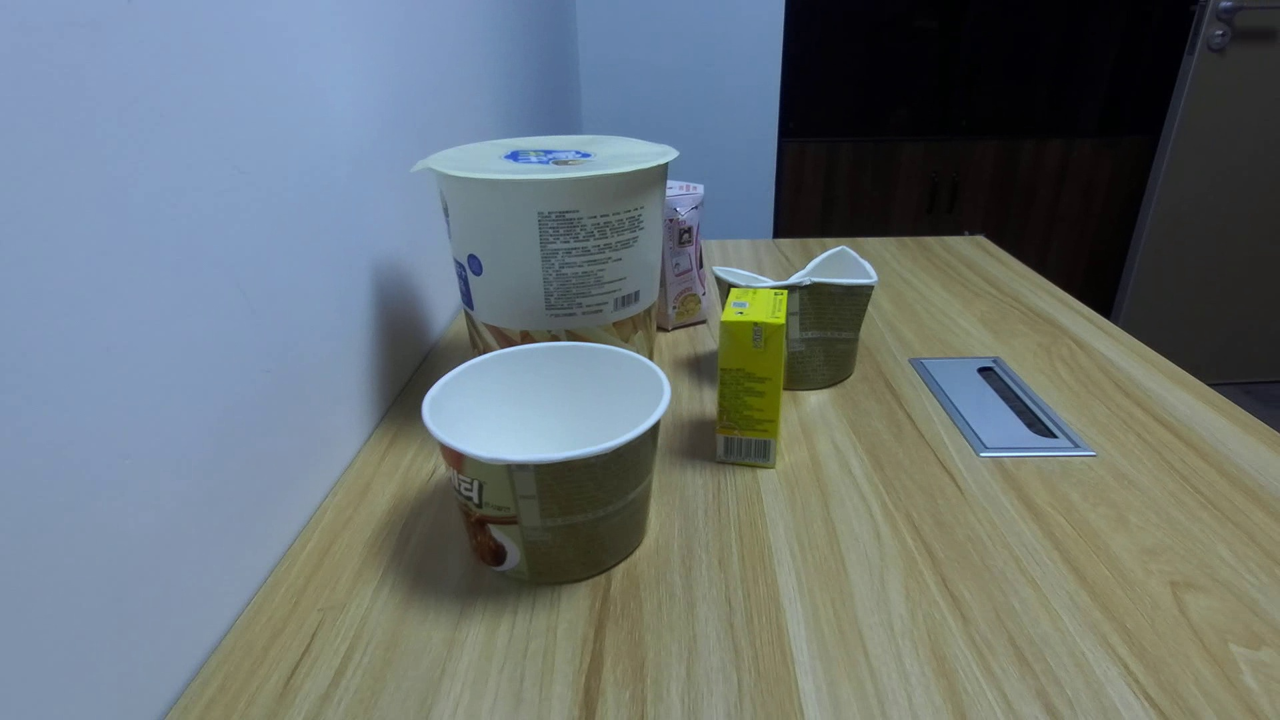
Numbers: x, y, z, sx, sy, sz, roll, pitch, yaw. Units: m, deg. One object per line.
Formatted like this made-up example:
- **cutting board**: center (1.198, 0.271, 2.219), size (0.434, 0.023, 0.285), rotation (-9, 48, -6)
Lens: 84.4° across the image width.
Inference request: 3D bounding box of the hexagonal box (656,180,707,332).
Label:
- **hexagonal box**: center (0.026, -0.106, 0.717), size (0.089, 0.134, 0.091), rotation (16, 30, 41)

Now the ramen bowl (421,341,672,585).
- **ramen bowl**: center (-0.051, 0.059, 0.421), size (0.140, 0.095, 0.140), rotation (0, 26, 0)

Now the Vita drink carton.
- **Vita drink carton**: center (0.078, 0.010, 0.493), size (0.043, 0.109, 0.066), rotation (4, 27, 12)

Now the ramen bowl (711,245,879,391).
- **ramen bowl**: center (0.128, -0.040, 0.615), size (0.128, 0.093, 0.111), rotation (-2, 26, -4)

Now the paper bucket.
- **paper bucket**: center (-0.061, -0.068, 0.571), size (0.198, 0.195, 0.198), rotation (-1, 25, 1)
